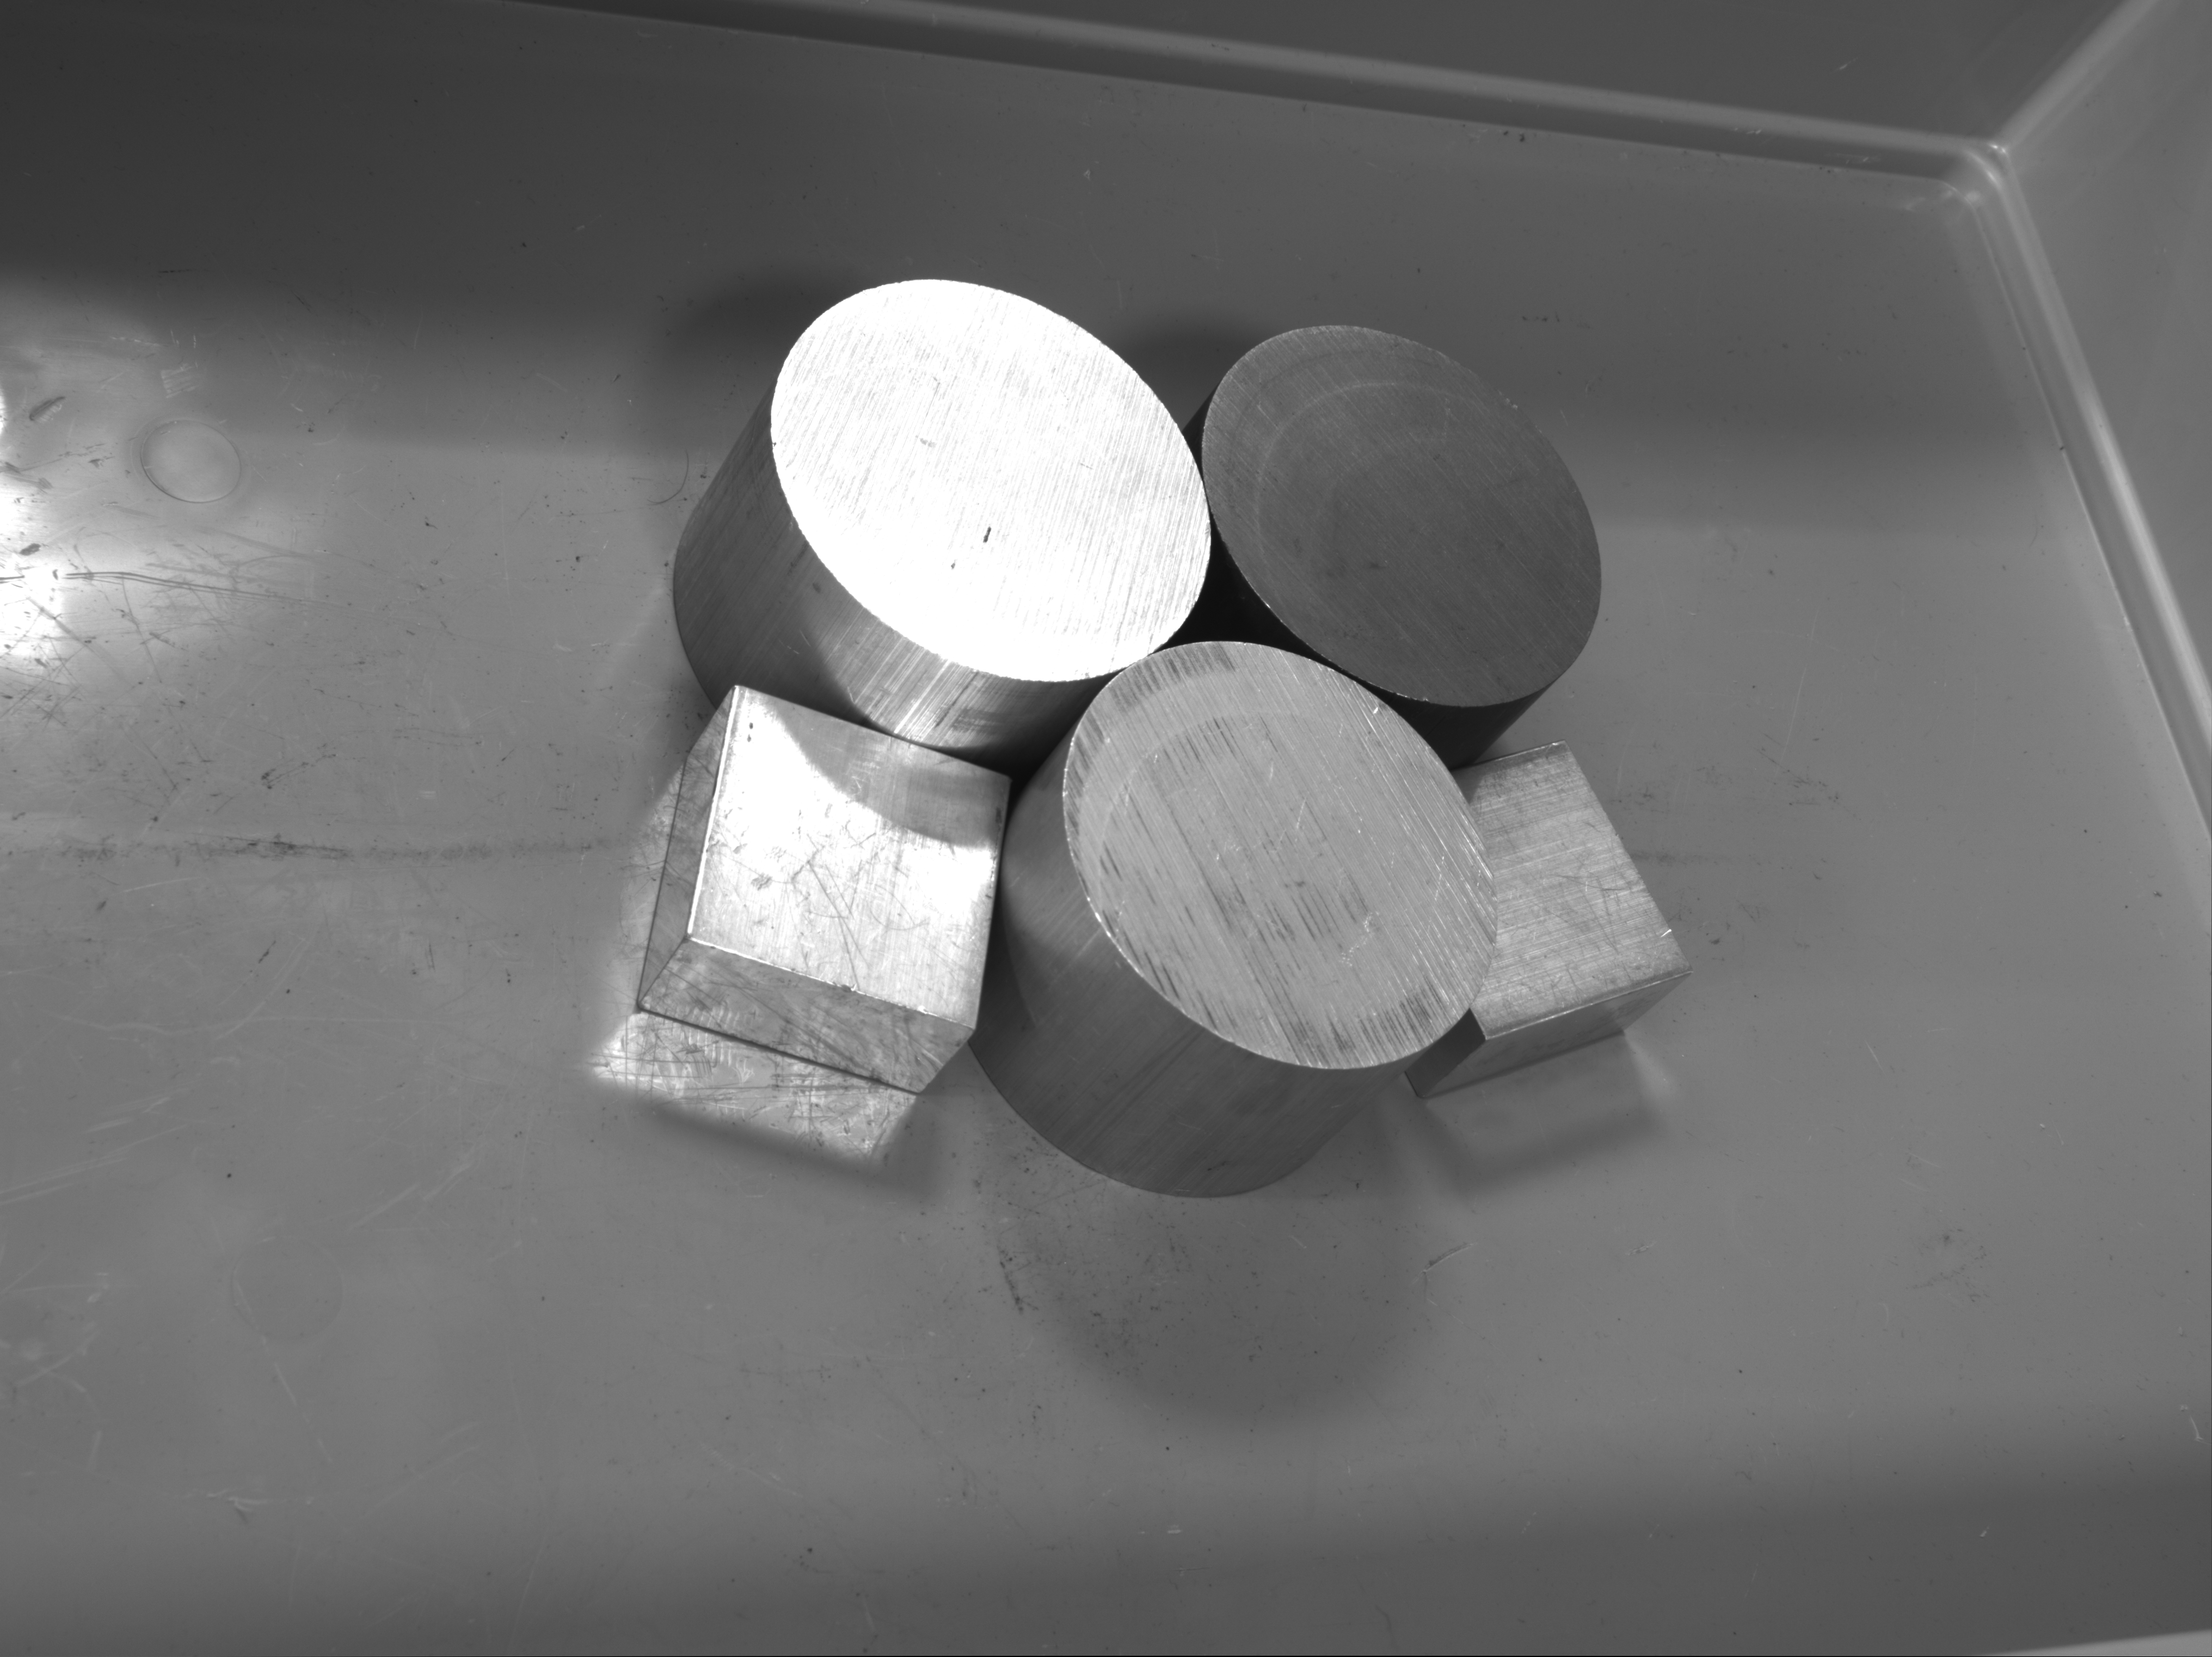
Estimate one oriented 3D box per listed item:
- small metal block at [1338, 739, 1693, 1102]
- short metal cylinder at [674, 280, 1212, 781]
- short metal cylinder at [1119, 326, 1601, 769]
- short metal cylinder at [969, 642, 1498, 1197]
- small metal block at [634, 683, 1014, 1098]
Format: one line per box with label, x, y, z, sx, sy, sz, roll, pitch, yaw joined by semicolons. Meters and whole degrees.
small metal block;0.070;0.016;0.666;0.050;0.025;0.050;-15;69;-34
short metal cylinder;-0.029;-0.047;0.636;0.080;0.050;0.080;13;56;-21
short metal cylinder;0.043;-0.045;0.672;0.080;0.050;0.080;13;56;-21
short metal cylinder;0.019;0.016;0.623;0.080;0.050;0.080;13;56;-21
small metal block;-0.046;0.010;0.607;0.050;0.025;0.050;19;54;-17
